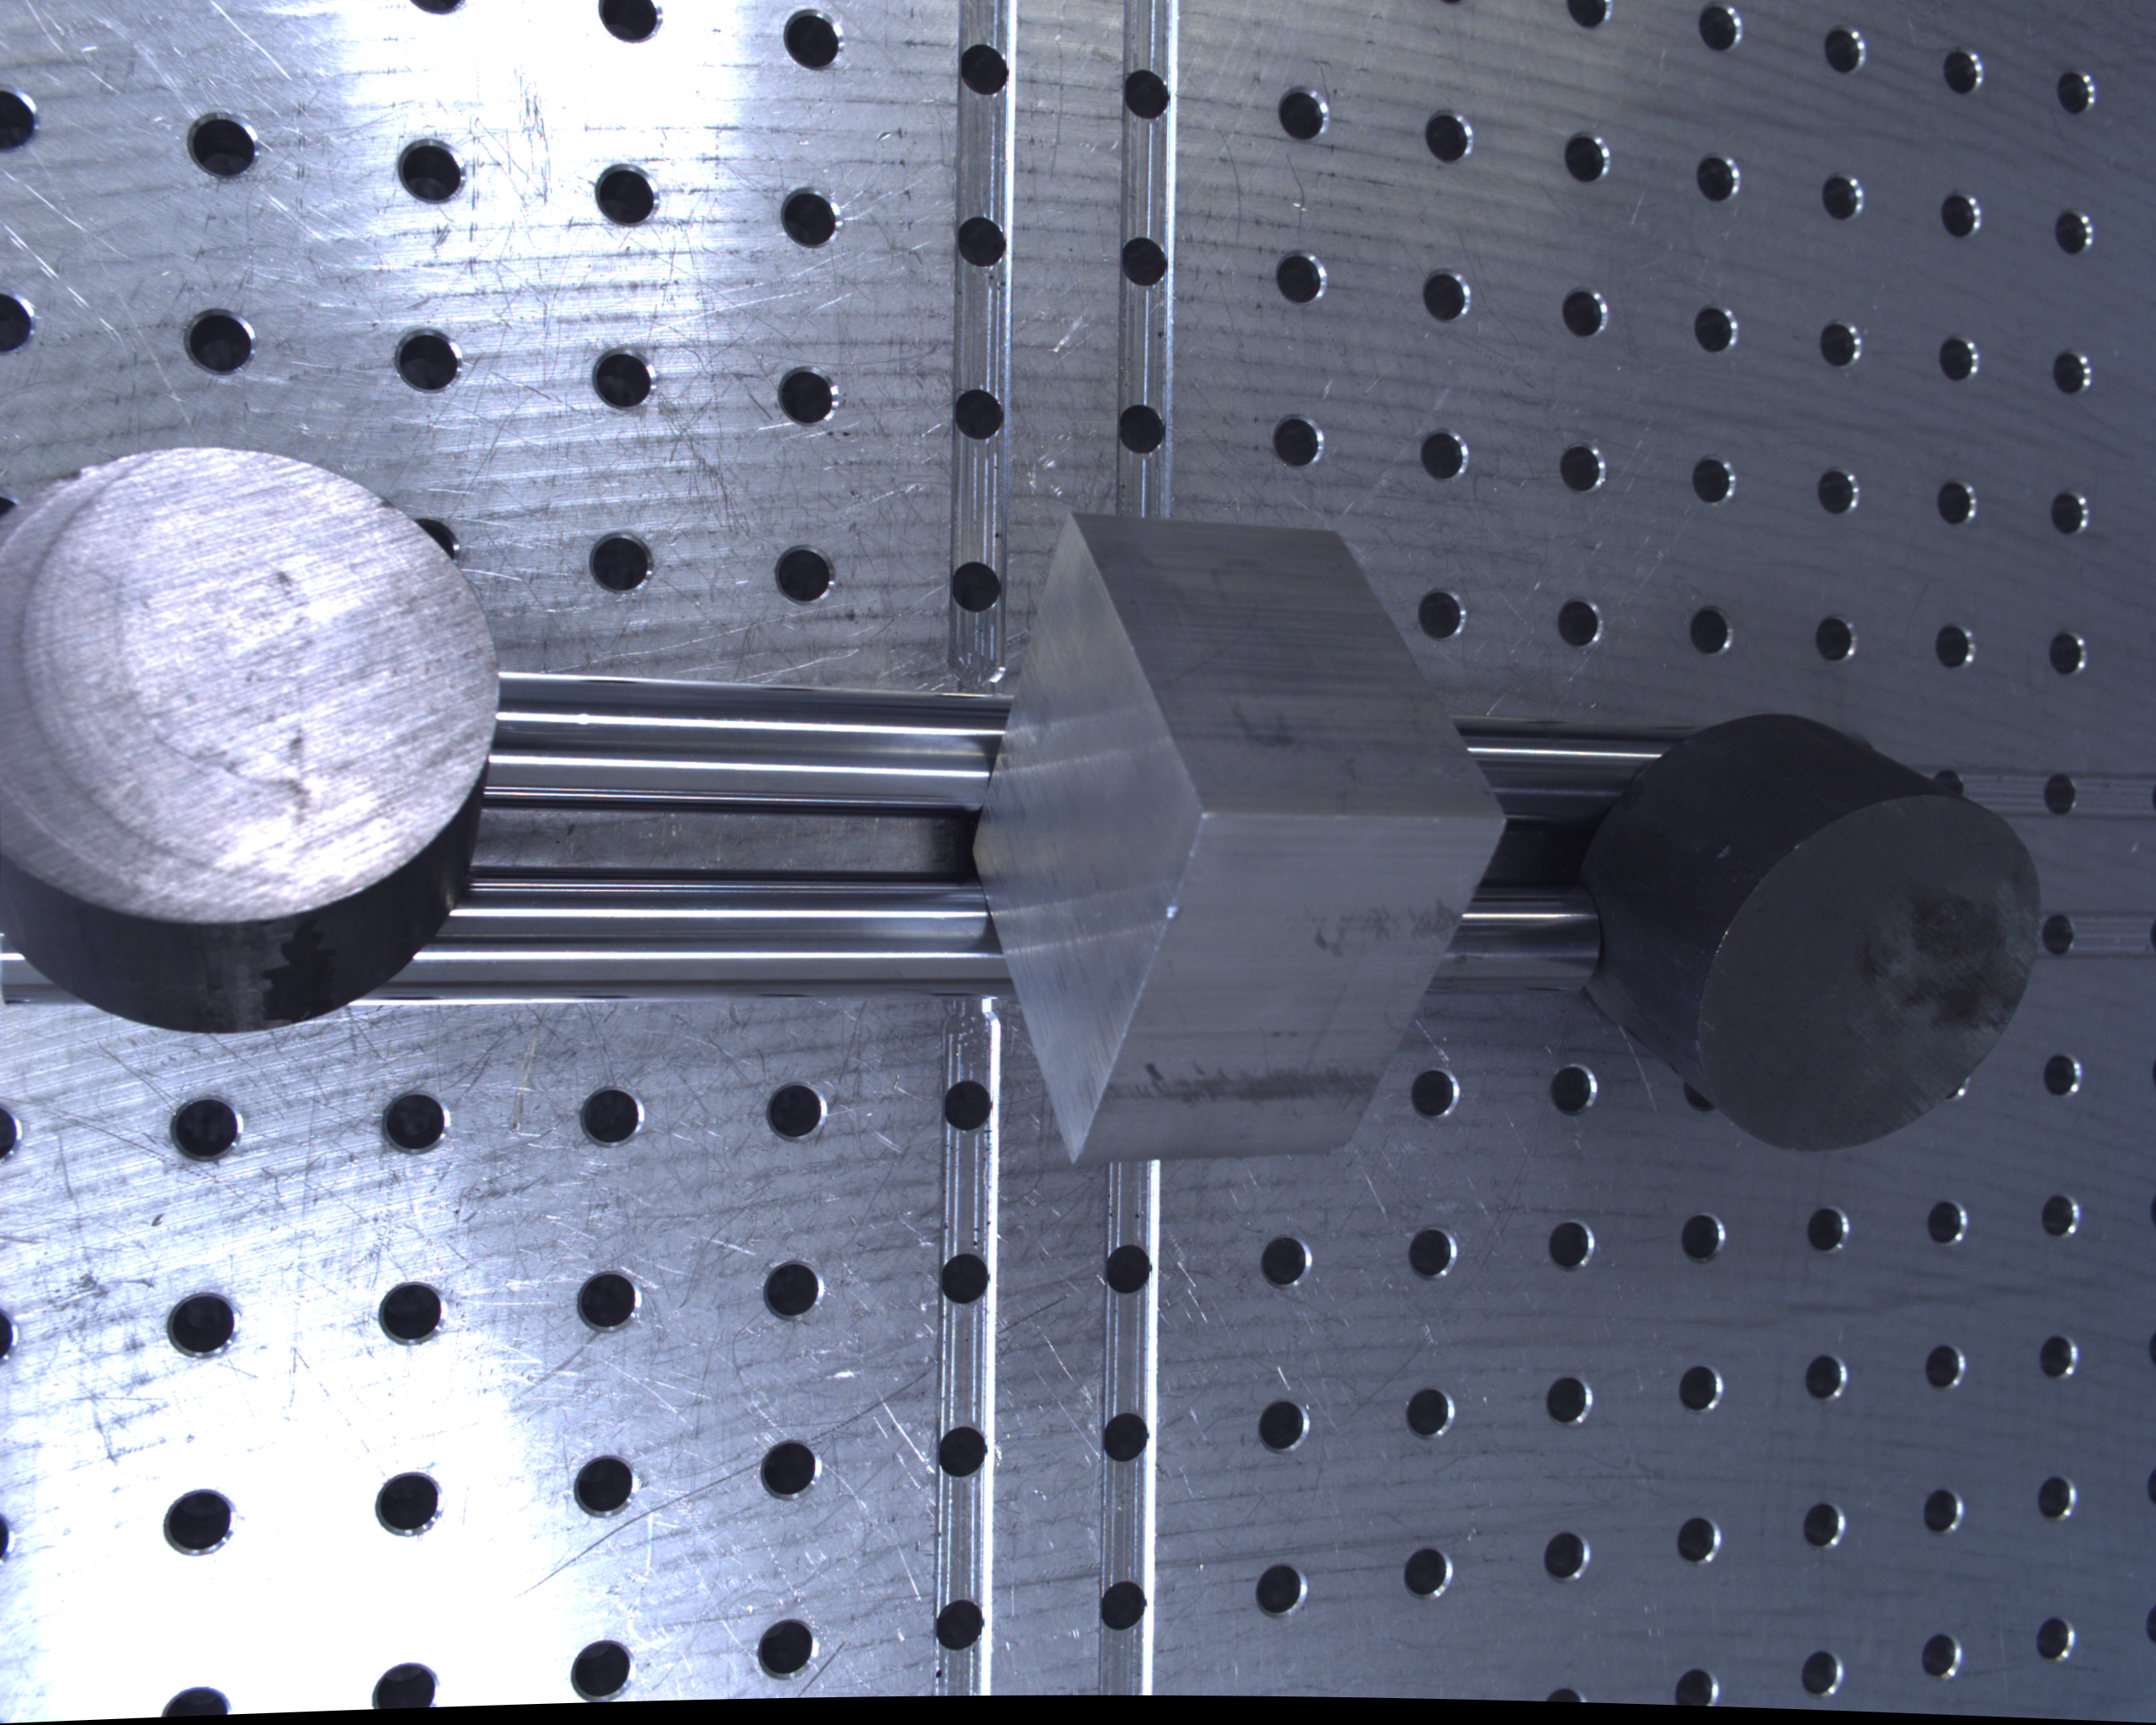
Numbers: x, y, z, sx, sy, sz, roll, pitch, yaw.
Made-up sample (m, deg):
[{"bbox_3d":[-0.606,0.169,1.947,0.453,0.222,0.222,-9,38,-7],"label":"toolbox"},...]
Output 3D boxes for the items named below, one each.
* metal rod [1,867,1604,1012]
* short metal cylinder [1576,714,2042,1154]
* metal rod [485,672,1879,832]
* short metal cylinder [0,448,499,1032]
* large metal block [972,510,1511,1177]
[{"bbox_3d":[-0.035,0.014,0.399,0.302,0.025,0.025,1,90,-20],"label":"metal rod"},{"bbox_3d":[0.152,0.014,0.441,0.081,0.050,0.079,-8,115,-16],"label":"short metal cylinder"},{"bbox_3d":[0.035,-0.020,0.425,0.302,0.025,0.025,1,90,-20],"label":"metal rod"},{"bbox_3d":[-0.136,-0.019,0.334,0.081,0.050,0.080,8,65,-17],"label":"short metal cylinder"},{"bbox_3d":[0.023,-0.003,0.360,0.050,0.080,0.079,1,132,-20],"label":"large metal block"}]
